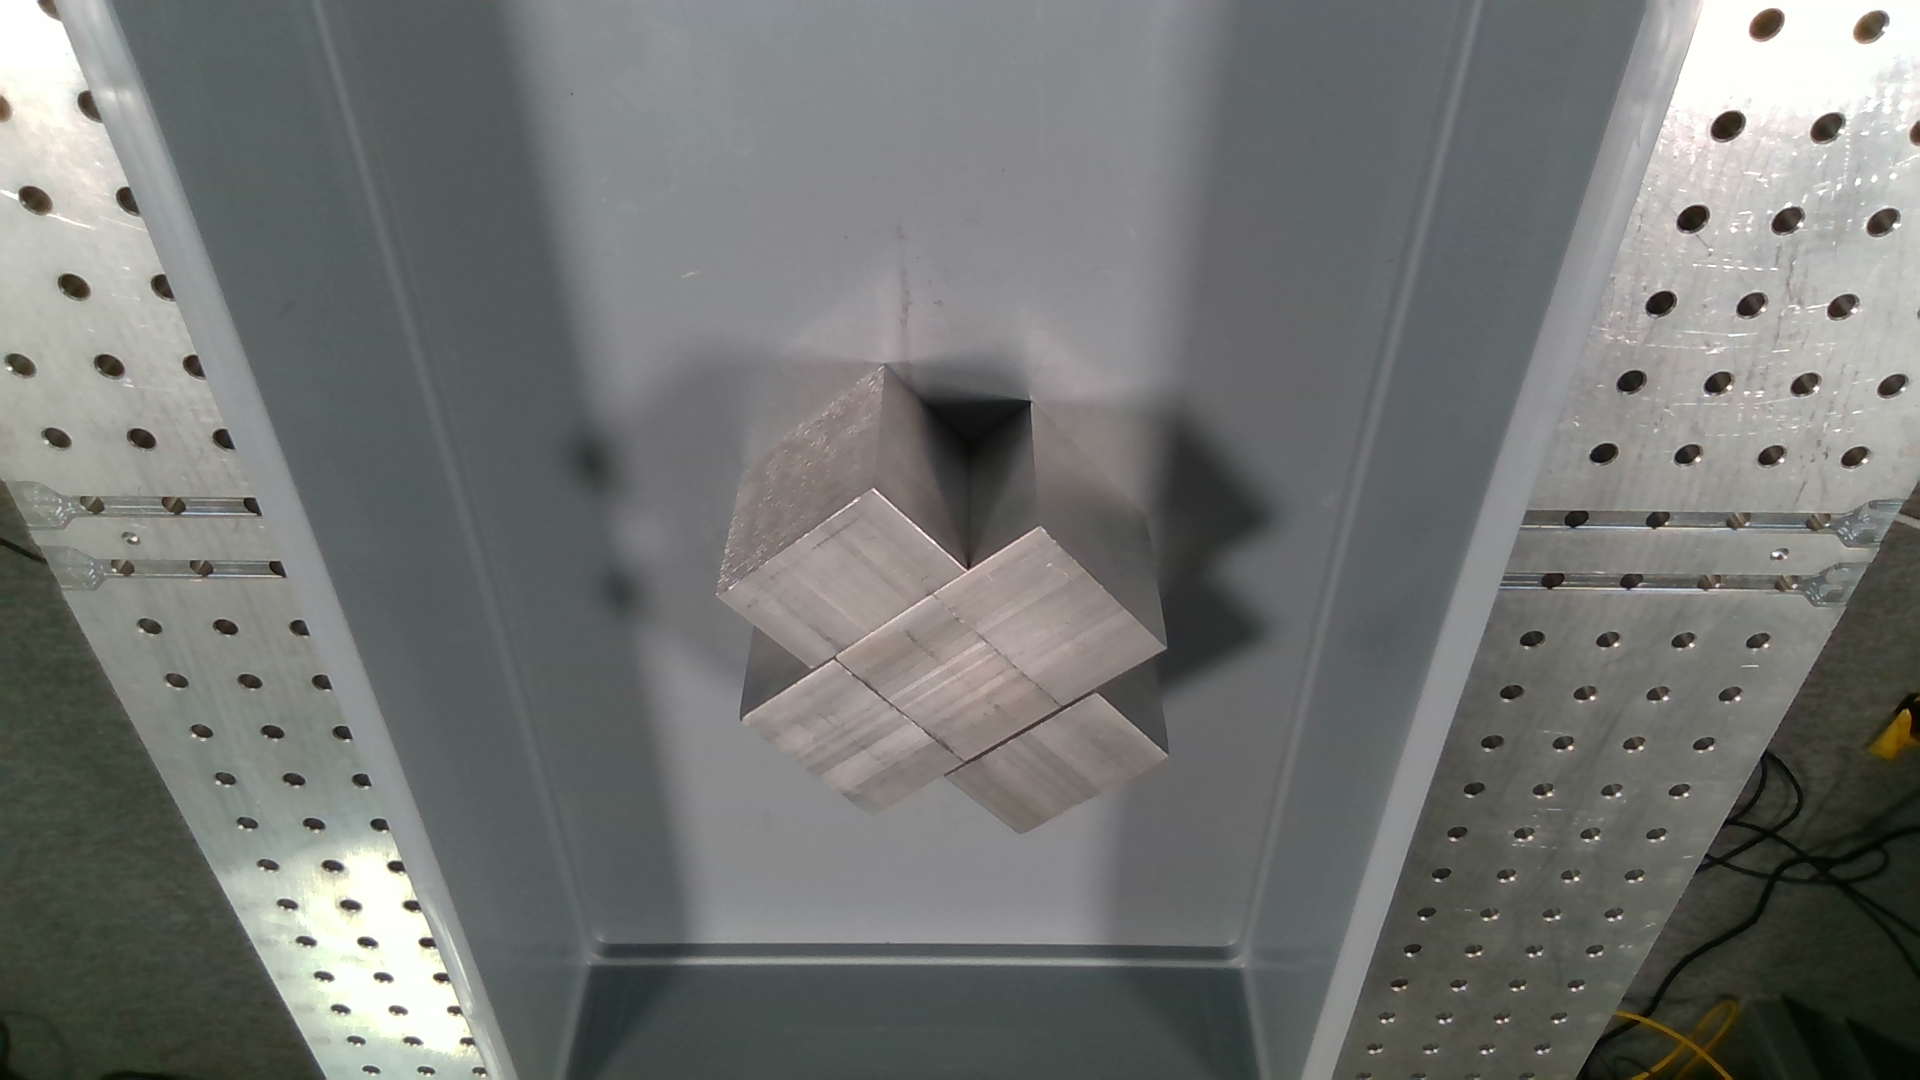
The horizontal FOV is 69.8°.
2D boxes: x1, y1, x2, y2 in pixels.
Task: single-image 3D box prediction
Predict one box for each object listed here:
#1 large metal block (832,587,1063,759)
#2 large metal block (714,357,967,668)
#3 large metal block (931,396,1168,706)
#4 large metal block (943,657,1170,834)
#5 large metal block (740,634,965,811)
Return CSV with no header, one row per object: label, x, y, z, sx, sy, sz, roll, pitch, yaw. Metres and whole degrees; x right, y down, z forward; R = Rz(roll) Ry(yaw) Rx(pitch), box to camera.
large metal block,-0.004,0.029,0.567,0.050,0.080,0.080,-33,123,24
large metal block,-0.044,-0.011,0.534,0.080,0.080,0.050,-33,122,25
large metal block,0.034,0.004,0.546,0.050,0.080,0.080,-33,123,24
large metal block,0.039,0.067,0.600,0.080,0.080,0.050,-33,122,25
large metal block,-0.043,0.054,0.589,0.050,0.080,0.080,-33,123,24
